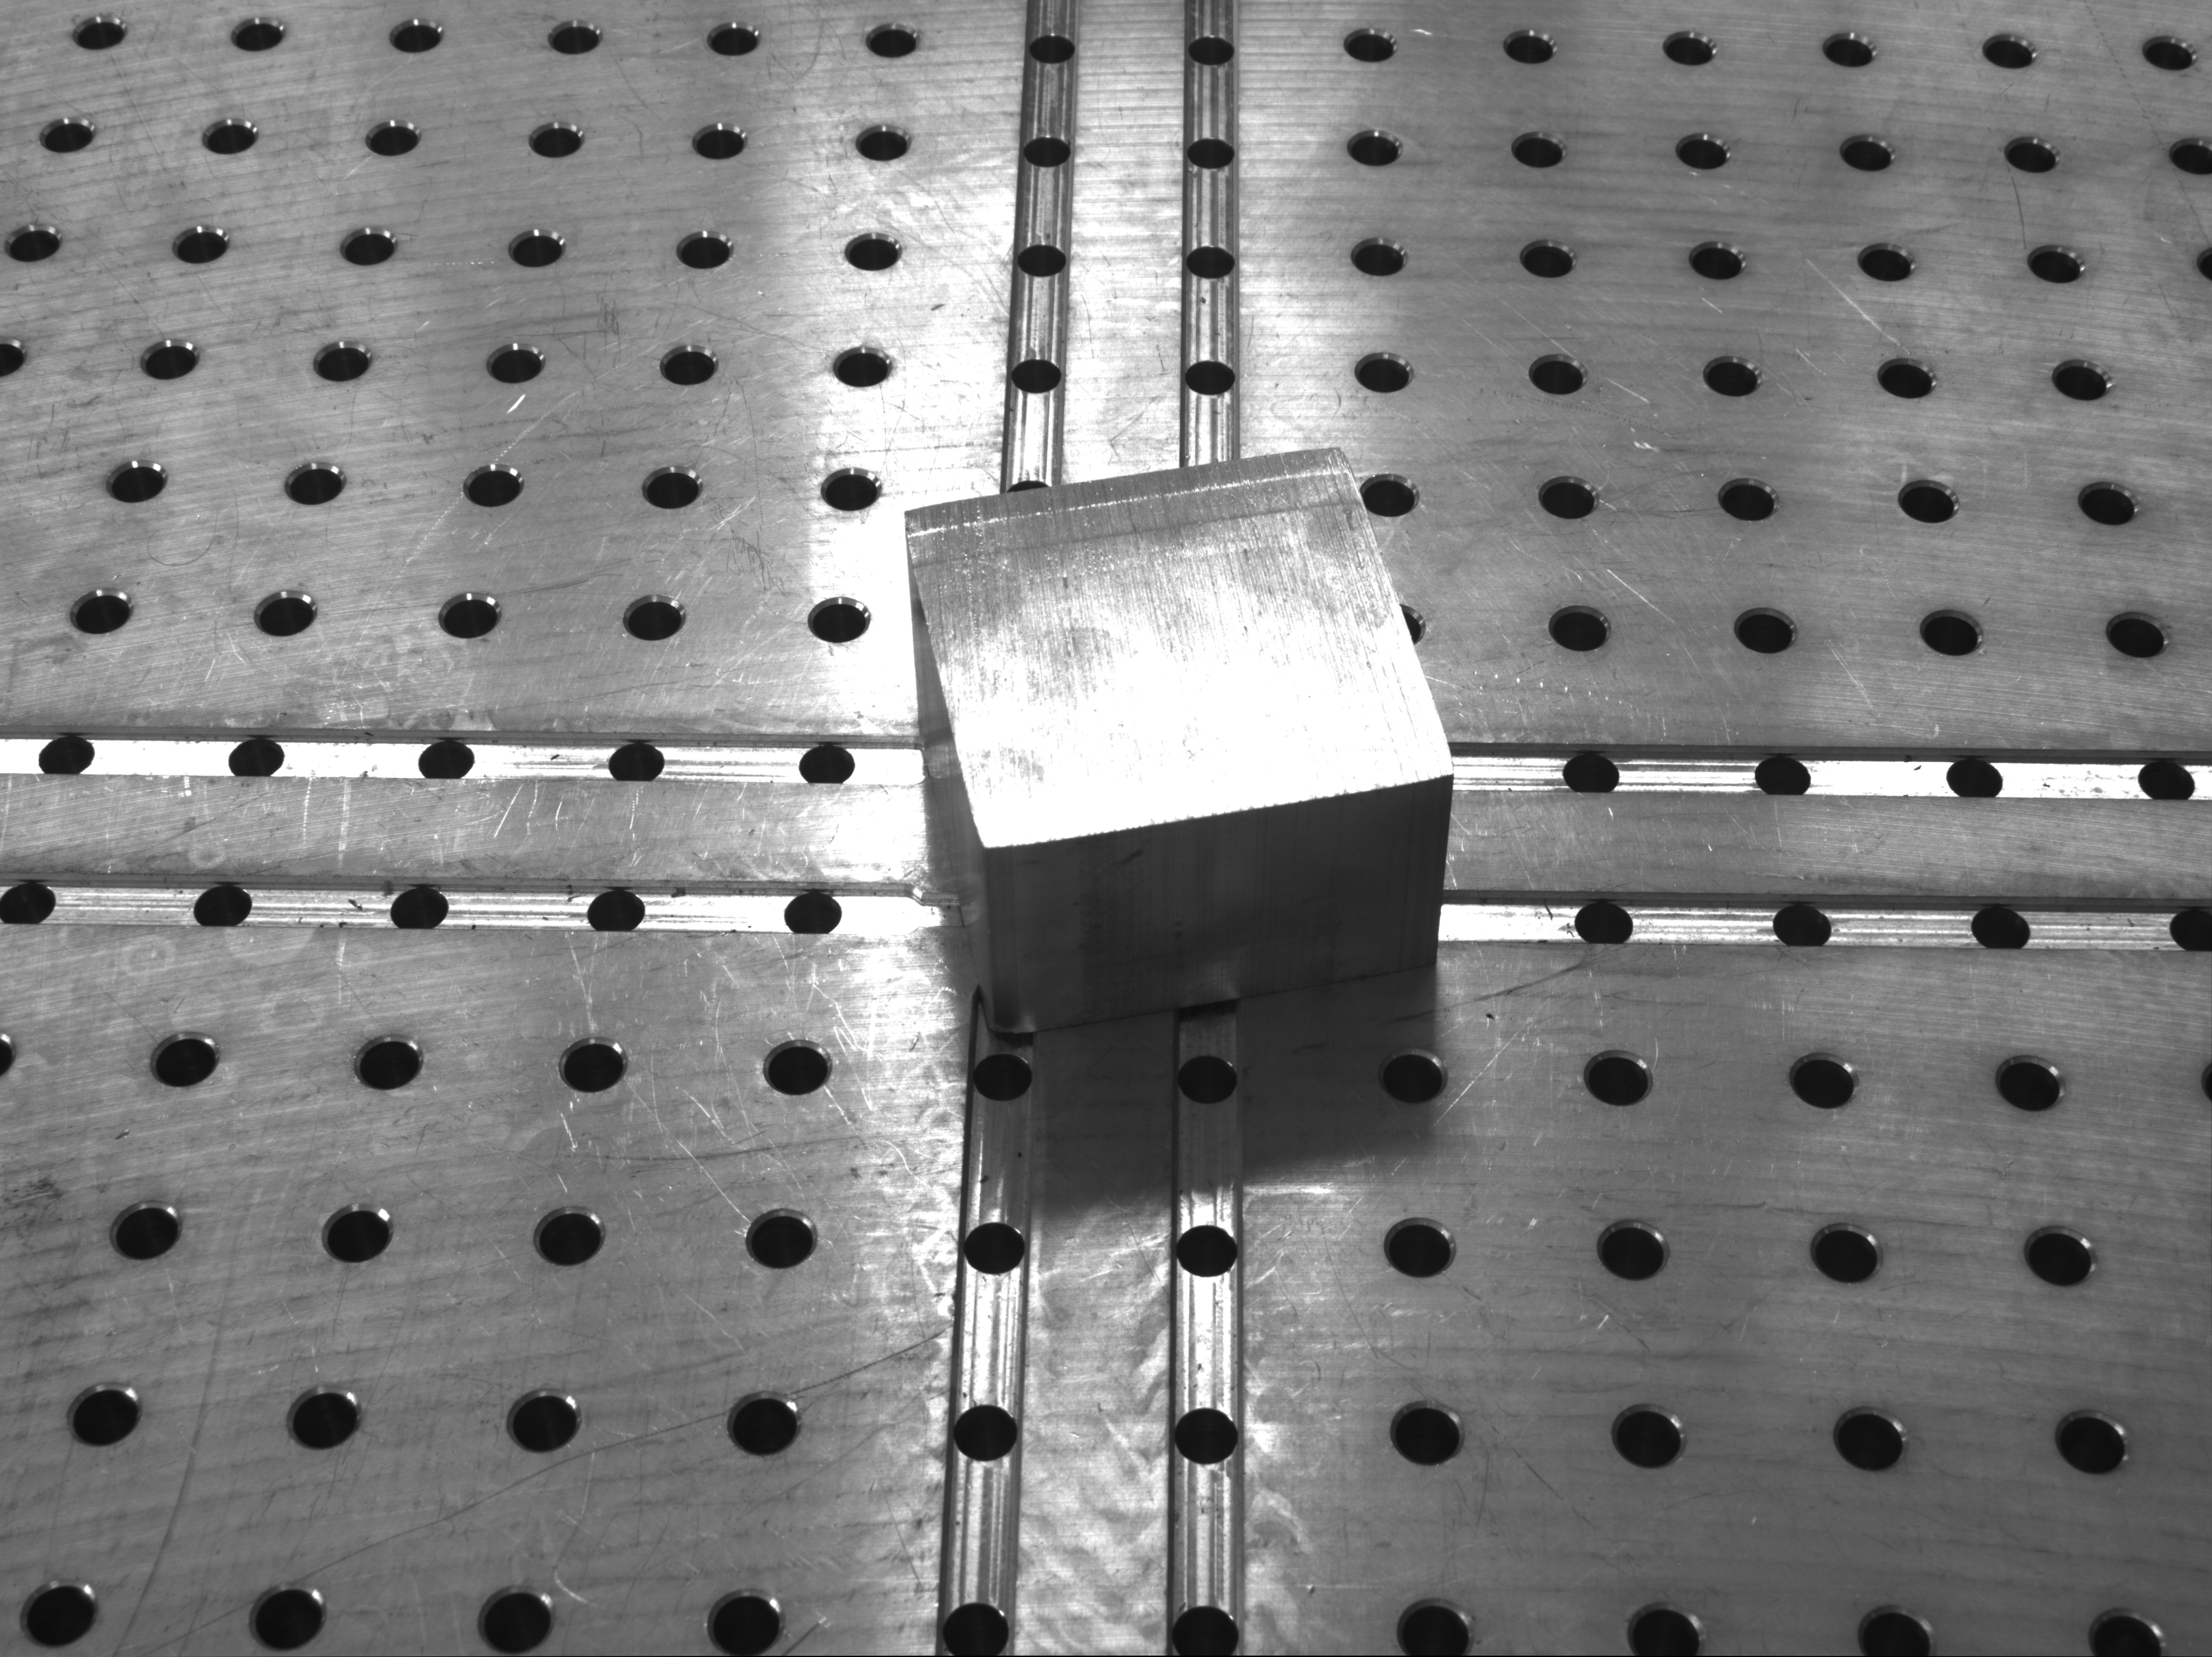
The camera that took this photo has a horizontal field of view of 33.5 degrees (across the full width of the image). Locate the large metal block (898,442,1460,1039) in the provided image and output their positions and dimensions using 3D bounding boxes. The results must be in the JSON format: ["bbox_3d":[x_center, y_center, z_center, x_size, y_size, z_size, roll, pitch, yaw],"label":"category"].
[{"bbox_3d":[0.011,-0.016,0.642,0.080,0.050,0.080,-9,51,-7],"label":"large metal block"}]
